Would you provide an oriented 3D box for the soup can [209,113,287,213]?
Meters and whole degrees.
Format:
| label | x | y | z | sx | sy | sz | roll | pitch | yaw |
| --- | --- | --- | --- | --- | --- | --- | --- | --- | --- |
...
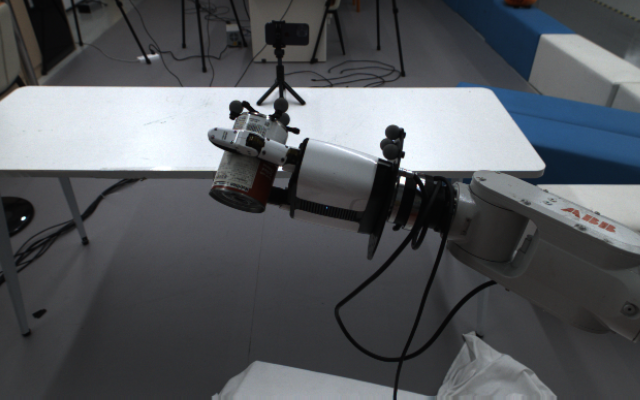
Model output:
| label | x | y | z | sx | sy | sz | roll | pitch | yaw |
| --- | --- | --- | --- | --- | --- | --- | --- | --- | --- |
| soup can | -0.081 | -0.043 | 0.573 | 0.067 | 0.067 | 0.101 | 11 | 72 | 13 |
